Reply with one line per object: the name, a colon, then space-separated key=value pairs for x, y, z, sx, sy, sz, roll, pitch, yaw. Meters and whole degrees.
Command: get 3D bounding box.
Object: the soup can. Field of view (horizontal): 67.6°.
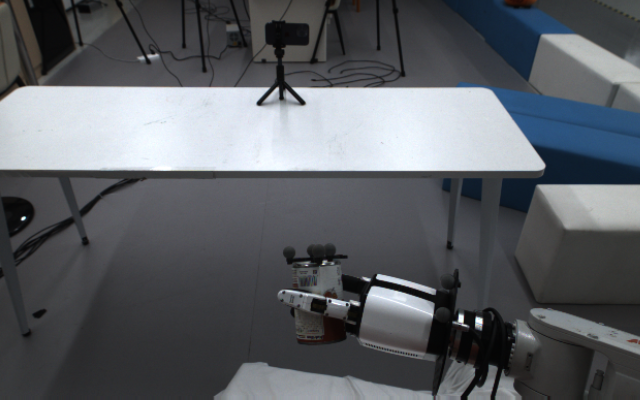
soup can: x=0.001 y=0.134 z=0.639 sx=0.067 sy=0.101 sz=0.067 roll=-5 pitch=-5 yaw=0
